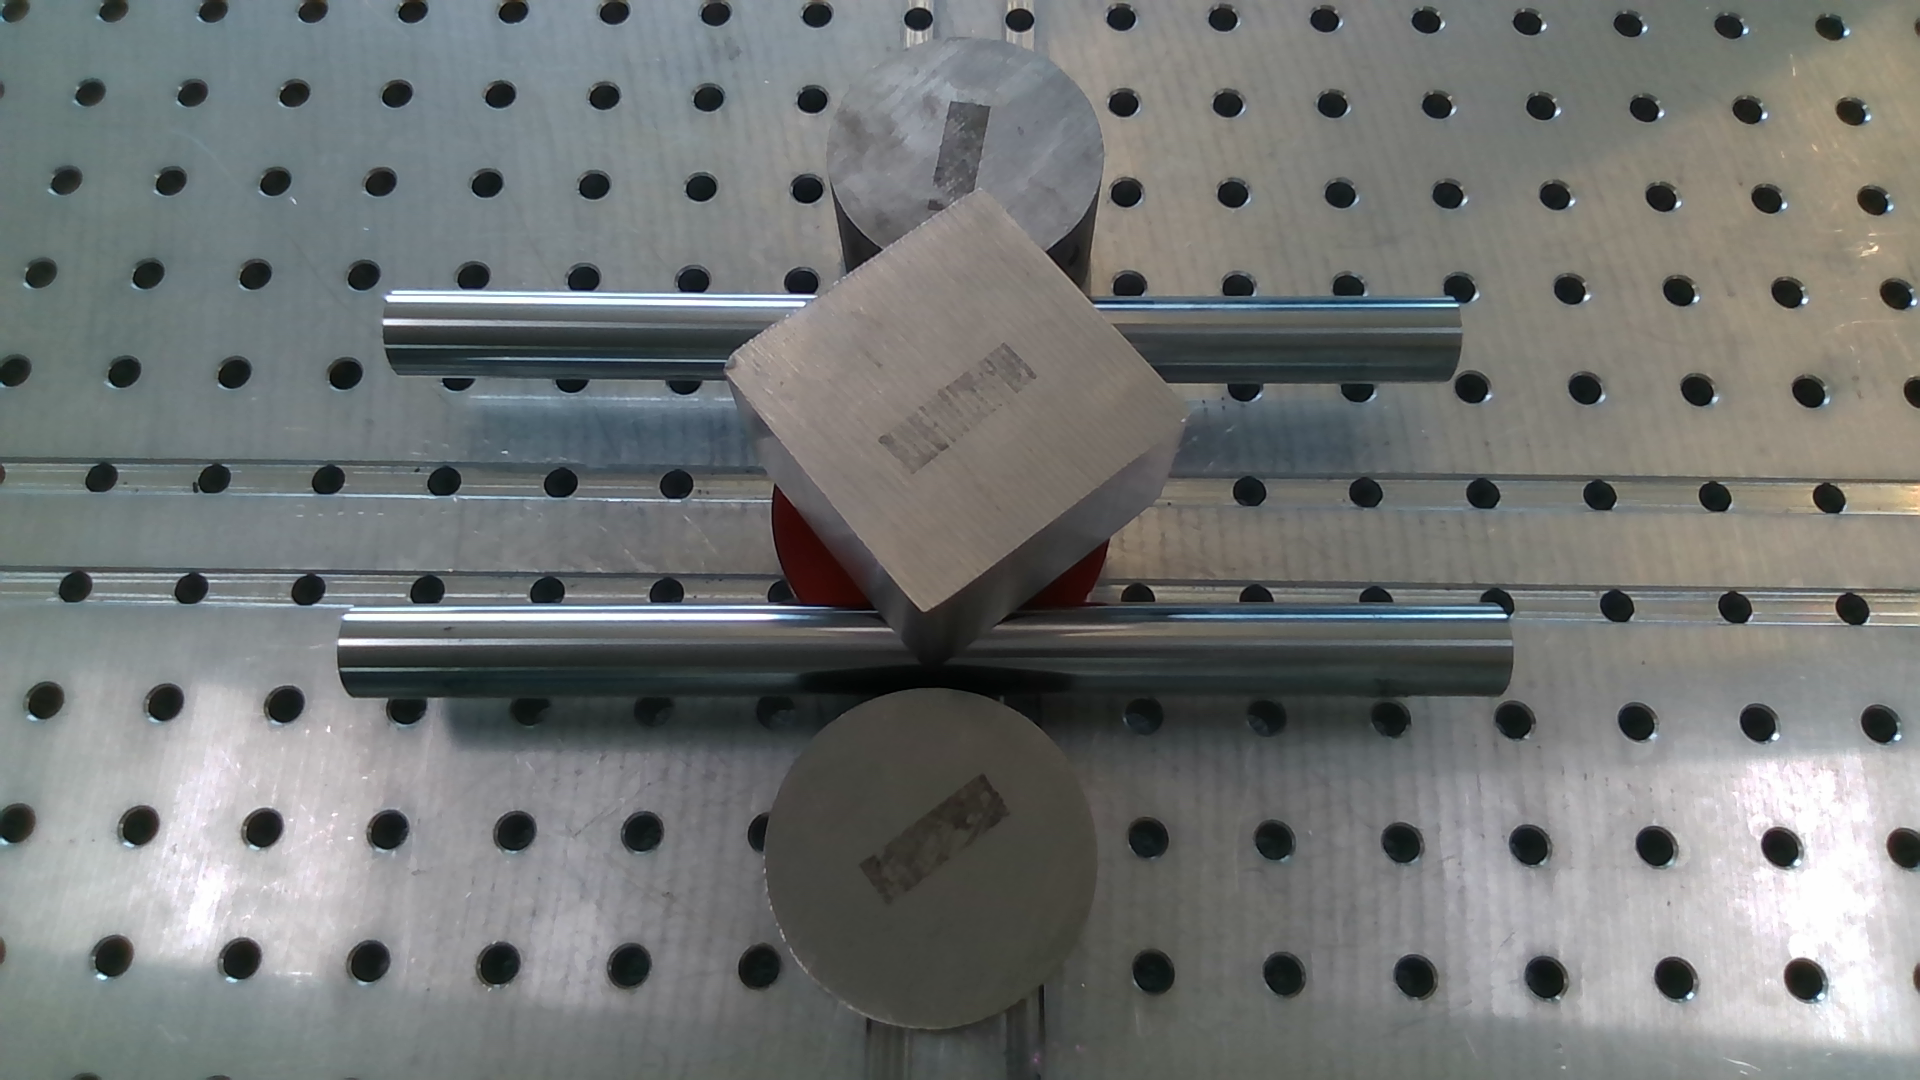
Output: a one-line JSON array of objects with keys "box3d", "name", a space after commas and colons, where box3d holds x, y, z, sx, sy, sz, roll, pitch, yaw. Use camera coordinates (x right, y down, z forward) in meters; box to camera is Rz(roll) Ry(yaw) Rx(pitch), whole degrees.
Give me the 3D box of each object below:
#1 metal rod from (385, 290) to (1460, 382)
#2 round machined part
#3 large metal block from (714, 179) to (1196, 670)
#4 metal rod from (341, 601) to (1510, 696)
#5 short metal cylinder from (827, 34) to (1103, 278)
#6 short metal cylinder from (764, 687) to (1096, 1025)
[{"box3d": [-0.011, -0.059, 0.397, 0.300, 0.025, 0.025, 0, 70, 0], "name": "metal rod"}, {"box3d": [-0.005, -0.011, 0.393, 0.098, 0.042, 0.098, 0, 70, 0], "name": "round machined part"}, {"box3d": [-0.002, -0.028, 0.345, 0.080, 0.050, 0.080, -37, 74, -12], "name": "large metal block"}, {"box3d": [-0.009, 0.029, 0.366, 0.300, 0.025, 0.025, 0, 70, 0], "name": "metal rod"}, {"box3d": [0.002, -0.105, 0.422, 0.080, 0.050, 0.080, 0, 70, 0], "name": "short metal cylinder"}, {"box3d": [-0.007, 0.083, 0.355, 0.080, 0.050, 0.080, 0, 70, 0], "name": "short metal cylinder"}]
